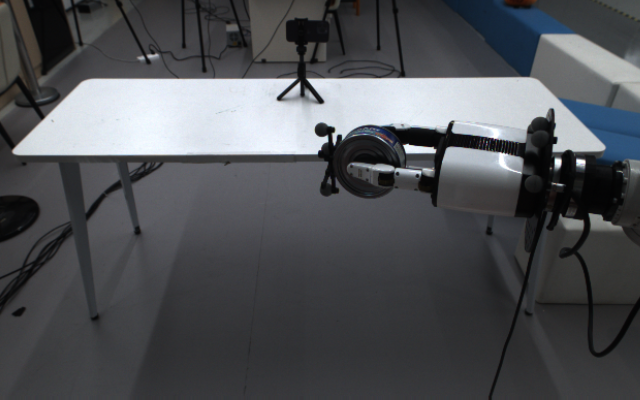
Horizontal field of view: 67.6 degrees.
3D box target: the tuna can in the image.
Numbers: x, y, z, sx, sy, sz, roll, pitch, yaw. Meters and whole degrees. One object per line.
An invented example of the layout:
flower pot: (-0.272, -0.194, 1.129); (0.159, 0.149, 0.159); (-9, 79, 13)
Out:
tuna can: (0.063, -0.044, 0.589); (0.085, 0.085, 0.034); (12, 28, 14)
